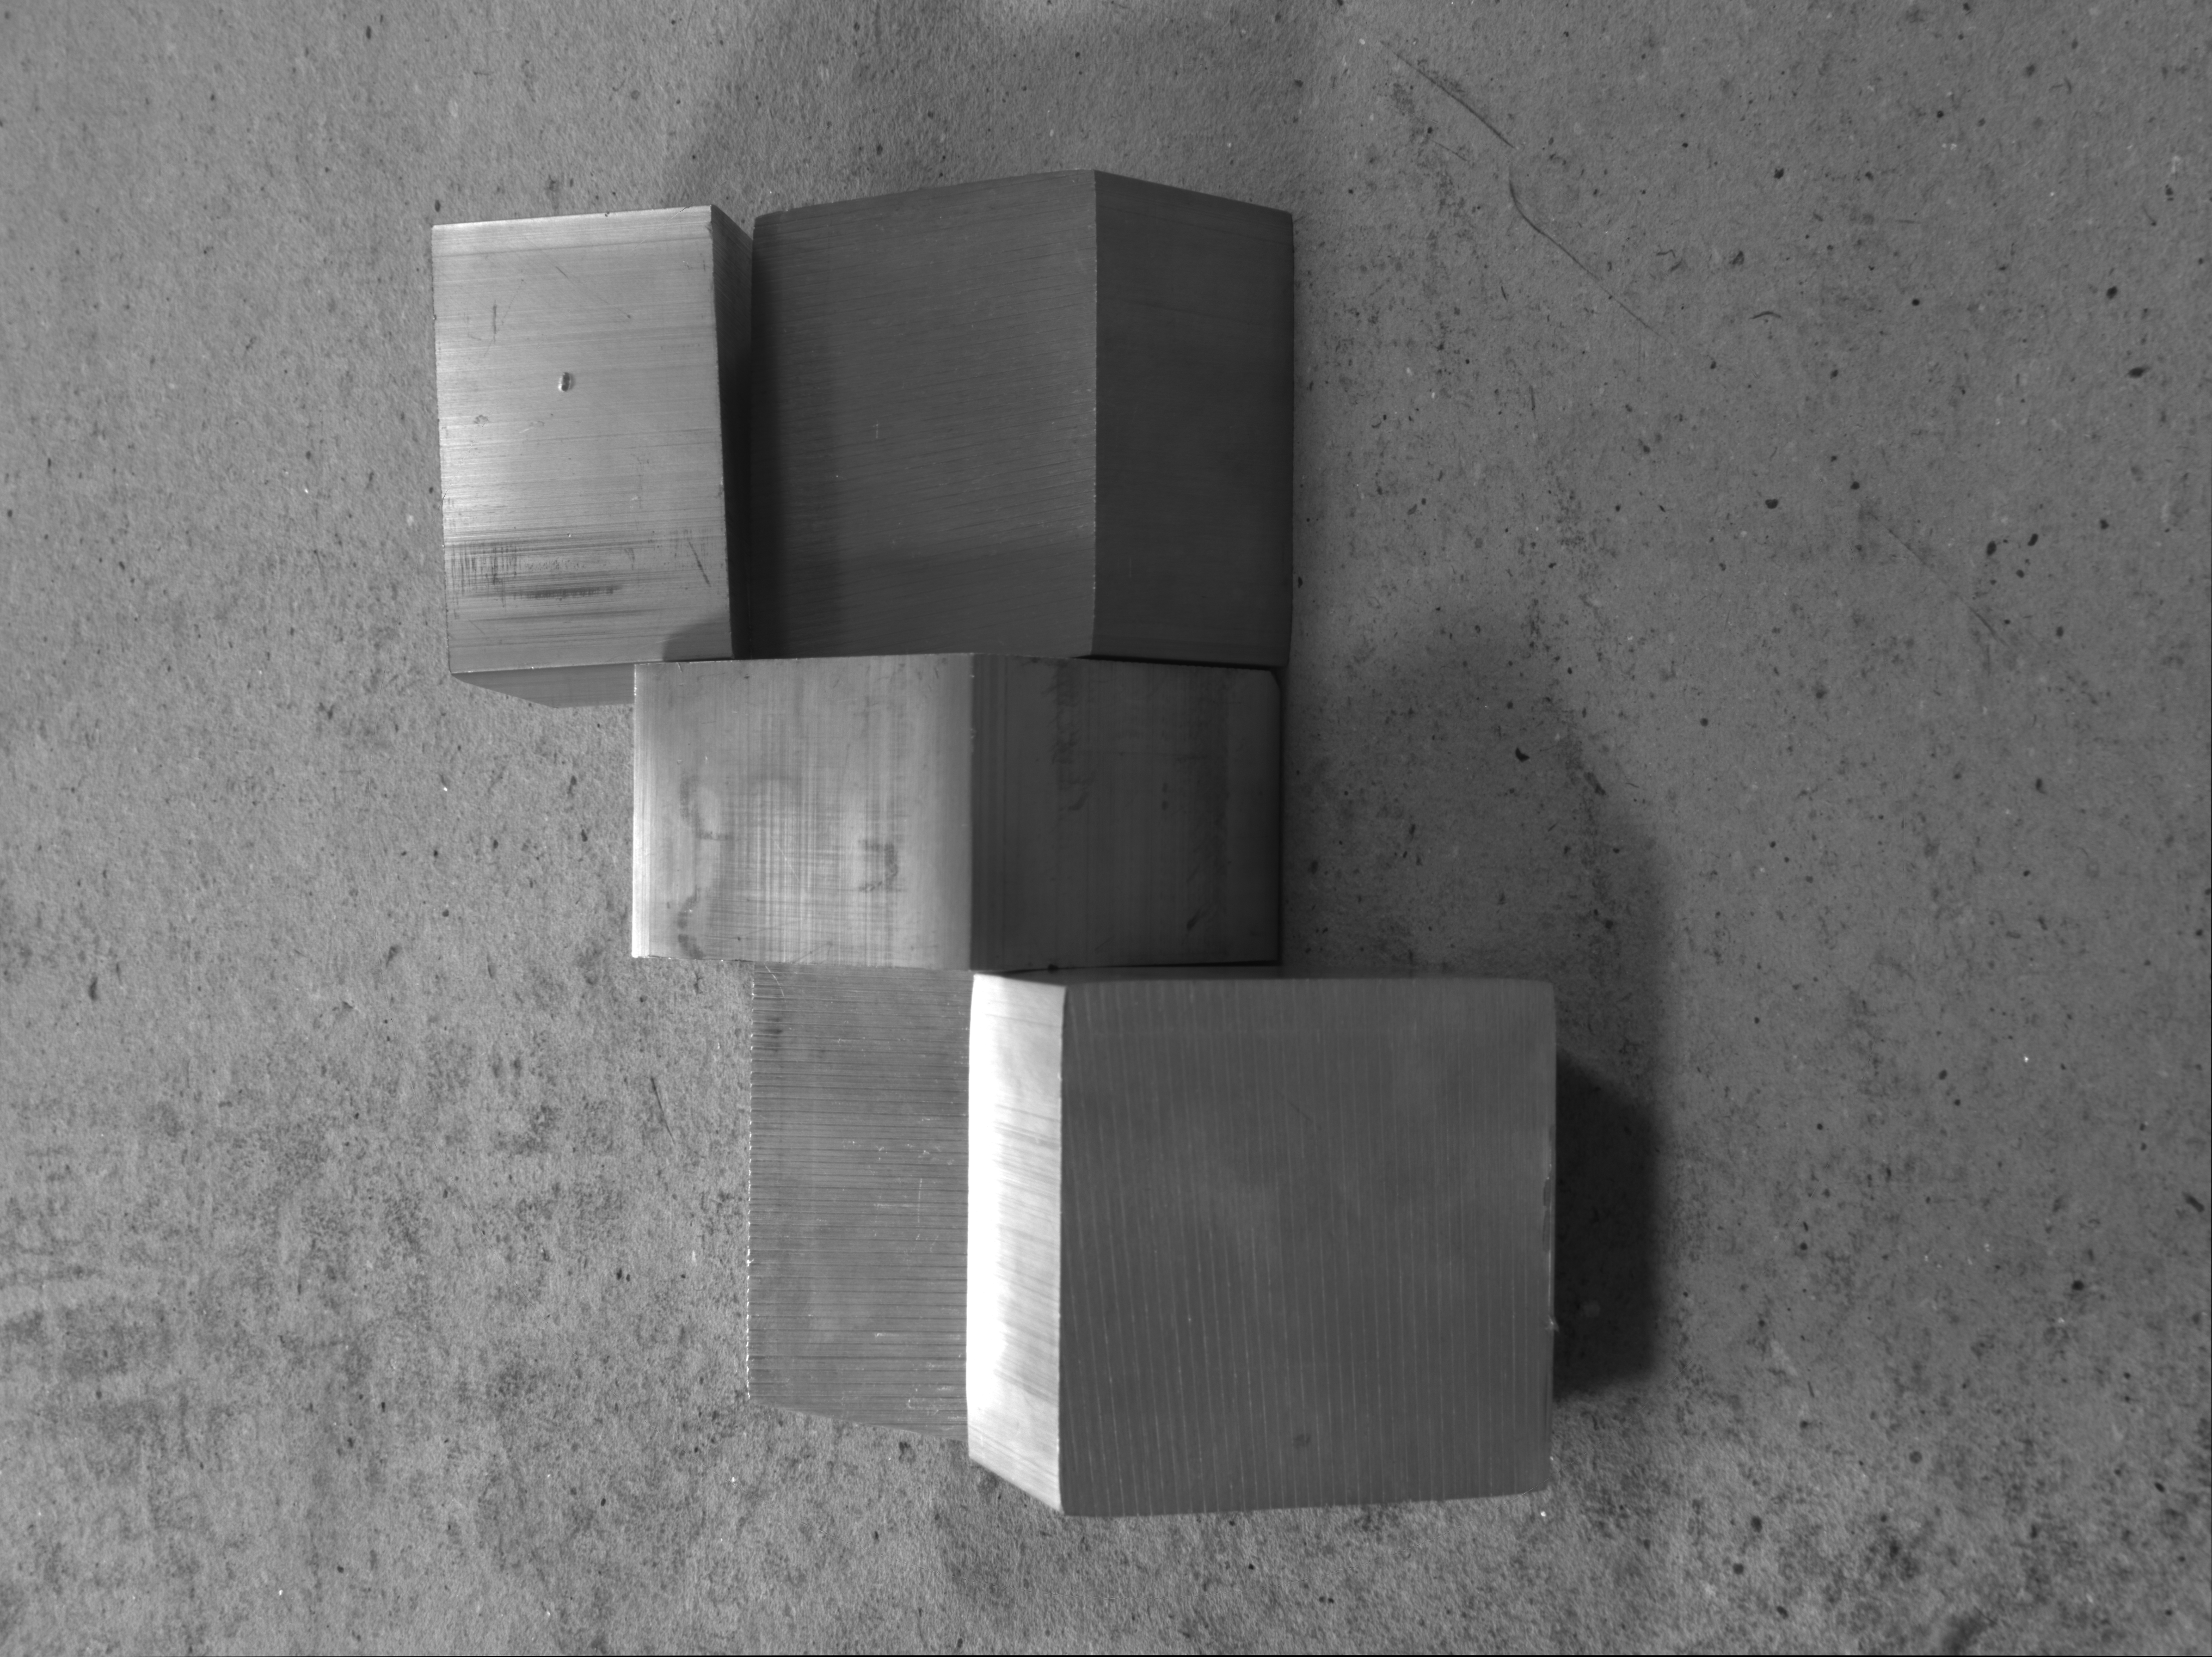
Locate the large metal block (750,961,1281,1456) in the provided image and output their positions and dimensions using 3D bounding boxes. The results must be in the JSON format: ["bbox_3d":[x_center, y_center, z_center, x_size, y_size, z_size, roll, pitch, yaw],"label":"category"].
[{"bbox_3d":[-0.016,0.062,0.643,0.080,0.050,0.080,1,91,41],"label":"large metal block"}]

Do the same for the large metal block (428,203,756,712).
[{"bbox_3d":[-0.087,-0.065,0.673,0.050,0.080,0.080,-3,87,6],"label":"large metal block"}]

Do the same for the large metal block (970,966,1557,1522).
[{"bbox_3d":[0.024,0.063,0.579,0.050,0.080,0.080,180,90,-72],"label":"large metal block"}]

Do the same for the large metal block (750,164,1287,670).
[{"bbox_3d":[-0.016,-0.068,0.640,0.080,0.050,0.080,1,90,41],"label":"large metal block"}]

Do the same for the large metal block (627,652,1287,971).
[{"bbox_3d":[-0.025,-0.003,0.631,0.080,0.080,0.050,0,90,40],"label":"large metal block"}]
